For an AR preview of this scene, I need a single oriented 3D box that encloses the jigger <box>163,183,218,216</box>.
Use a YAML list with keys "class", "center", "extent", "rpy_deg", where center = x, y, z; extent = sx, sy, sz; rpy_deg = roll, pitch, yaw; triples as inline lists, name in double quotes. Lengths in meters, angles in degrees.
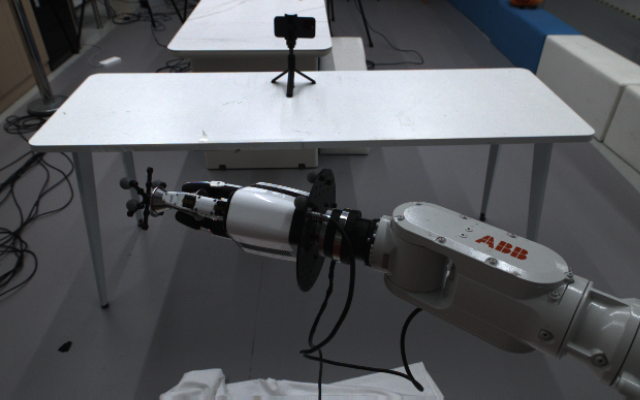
- class: "jigger"
  center: [-0.187, -0.001, 0.672]
  extent: [0.071, 0.043, 0.043]
  rpy_deg: [5, 34, 15]
